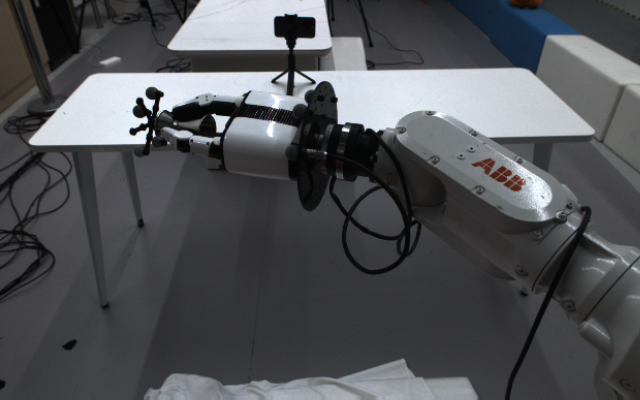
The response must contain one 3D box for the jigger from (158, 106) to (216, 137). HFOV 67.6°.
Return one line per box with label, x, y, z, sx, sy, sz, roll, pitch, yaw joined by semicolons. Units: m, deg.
jigger;-0.172;-0.097;0.641;0.071;0.043;0.043;11;36;15
